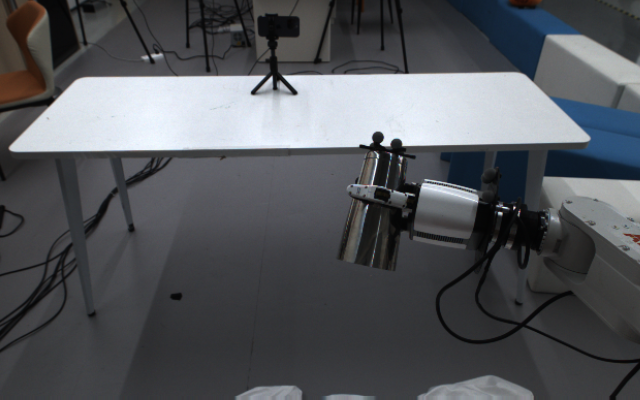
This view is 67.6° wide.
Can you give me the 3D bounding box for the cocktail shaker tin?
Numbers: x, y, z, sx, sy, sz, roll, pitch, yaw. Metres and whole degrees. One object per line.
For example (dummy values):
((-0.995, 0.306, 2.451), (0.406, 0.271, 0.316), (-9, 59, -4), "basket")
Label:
((0.087, 0.015, 0.741), (0.093, 0.170, 0.093), (12, -5, 1), "cocktail shaker tin")
